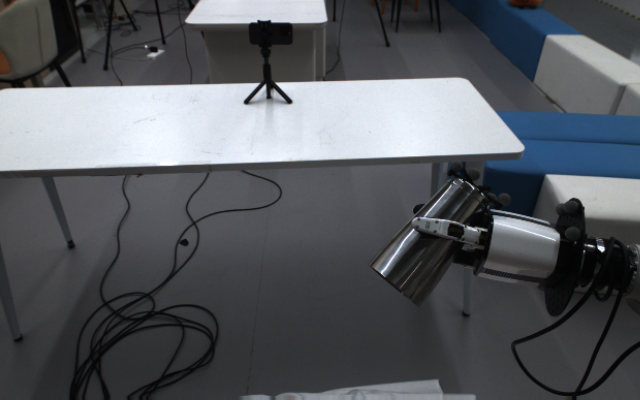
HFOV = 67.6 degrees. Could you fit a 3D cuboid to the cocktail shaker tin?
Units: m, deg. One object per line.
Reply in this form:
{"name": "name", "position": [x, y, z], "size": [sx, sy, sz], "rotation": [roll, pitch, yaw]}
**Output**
{"name": "cocktail shaker tin", "position": [0.157, 0.049, 0.674], "size": [0.170, 0.093, 0.093], "rotation": [-48, 49, -3]}
